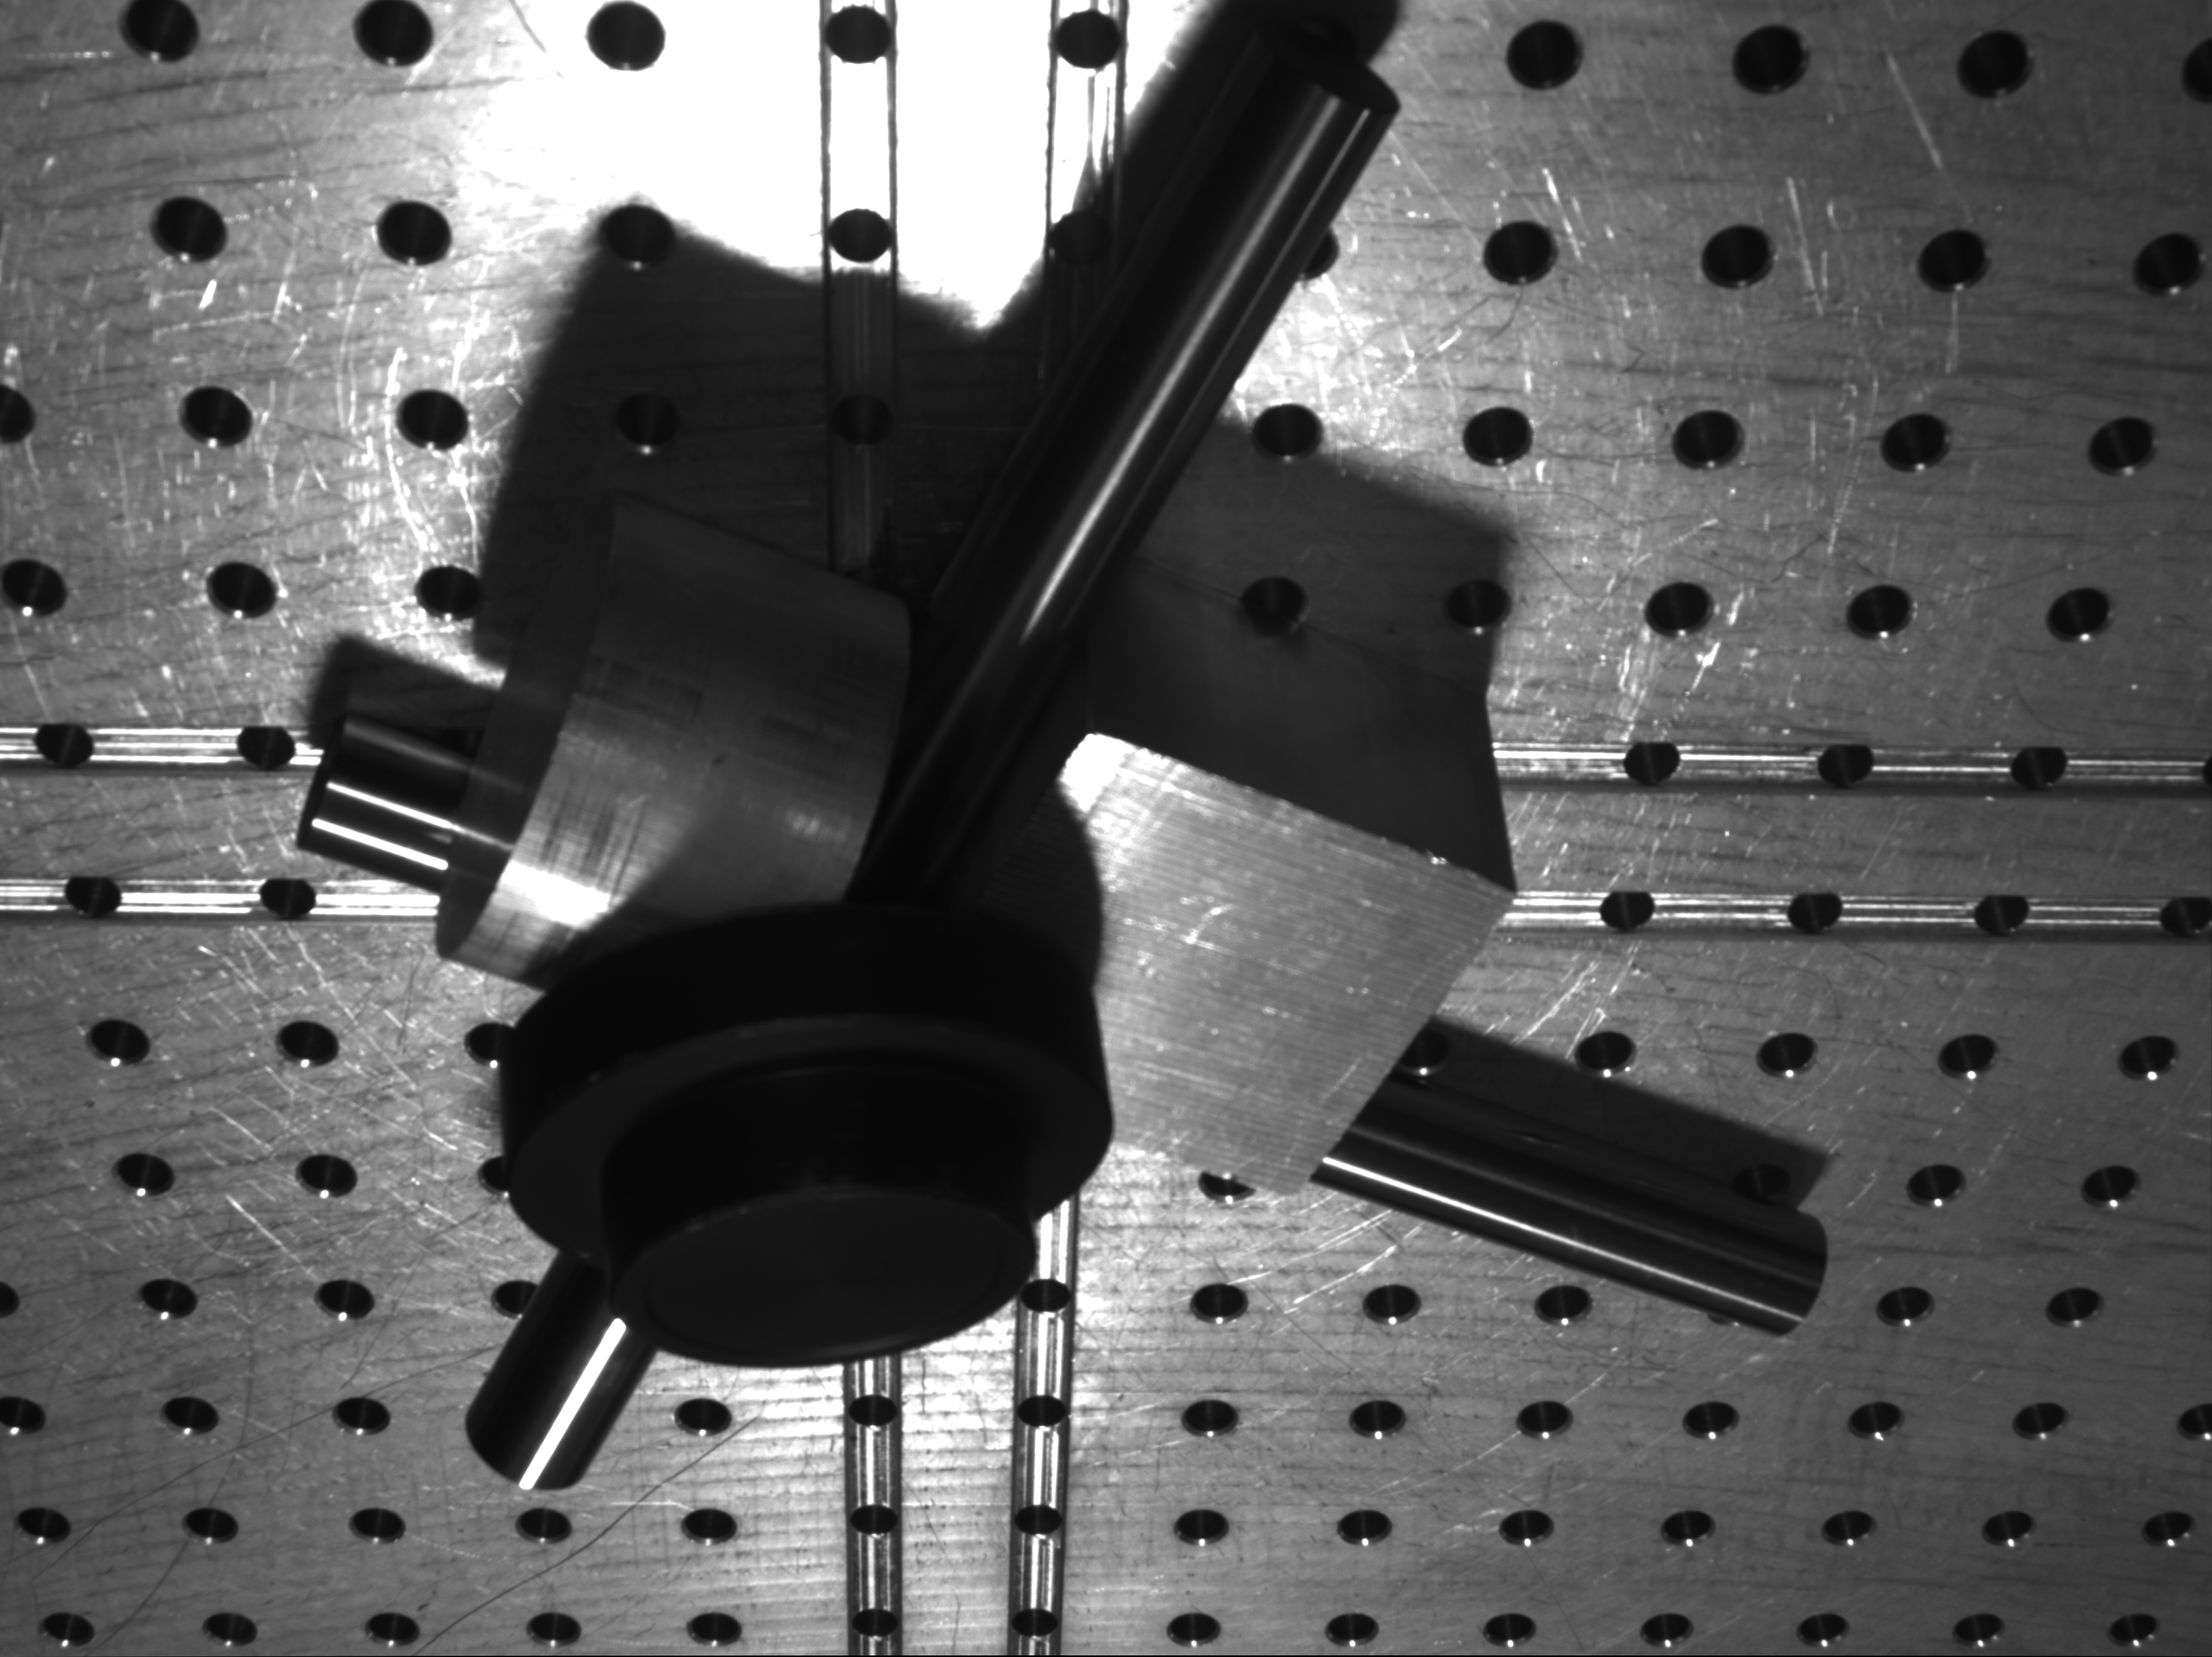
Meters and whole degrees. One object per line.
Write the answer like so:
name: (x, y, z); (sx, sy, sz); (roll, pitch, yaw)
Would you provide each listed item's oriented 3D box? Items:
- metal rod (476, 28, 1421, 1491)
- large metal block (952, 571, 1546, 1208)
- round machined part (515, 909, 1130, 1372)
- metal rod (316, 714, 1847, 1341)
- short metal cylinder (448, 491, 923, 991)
metal rod: (-0.035, 0.001, 0.615); (0.025, 0.025, 0.300); (22, 118, -19)
large metal block: (0.018, 0.010, 0.629); (0.080, 0.050, 0.080); (20, 126, -18)
round machined part: (-0.045, 0.055, 0.589); (0.098, 0.042, 0.098); (-7, 150, -4)
metal rod: (0.003, 0.040, 0.674); (0.301, 0.025, 0.025); (20, 127, -17)
short metal cylinder: (-0.069, -0.009, 0.595); (0.050, 0.080, 0.080); (20, 127, -17)
